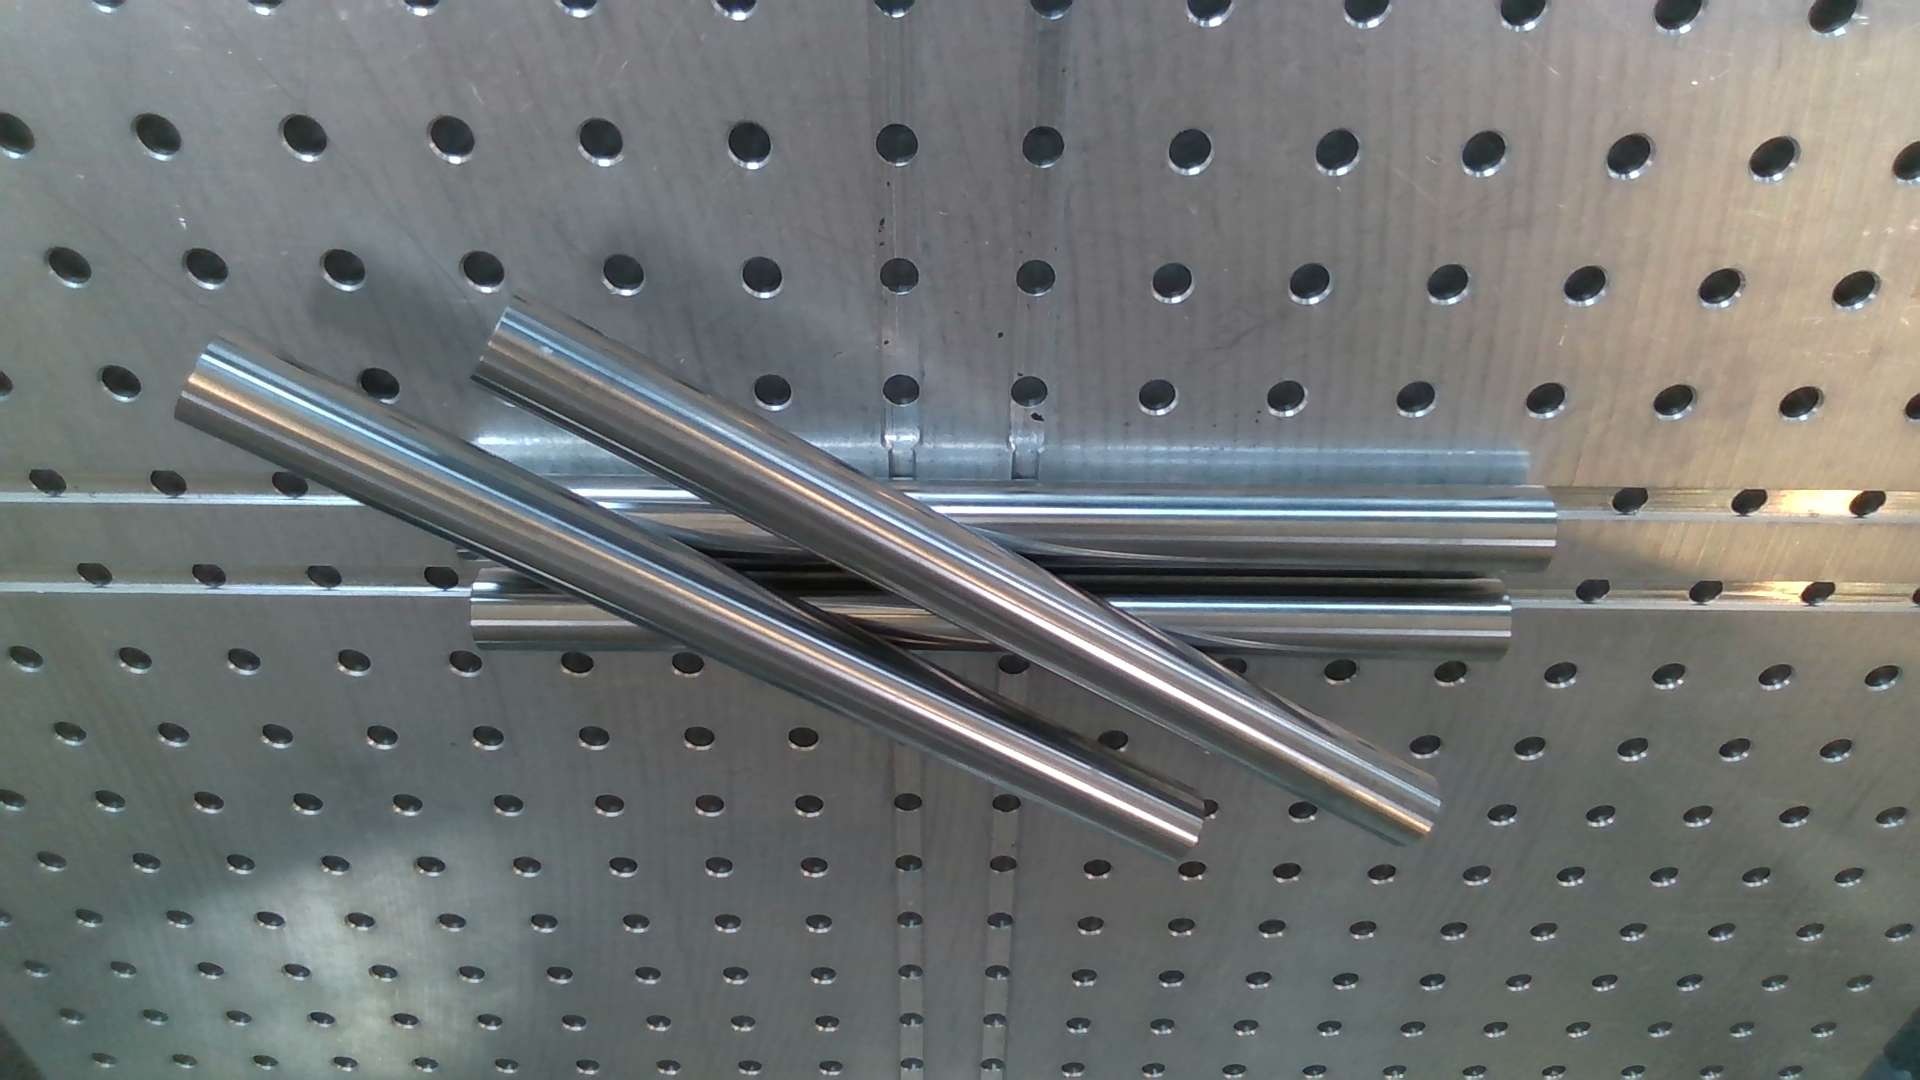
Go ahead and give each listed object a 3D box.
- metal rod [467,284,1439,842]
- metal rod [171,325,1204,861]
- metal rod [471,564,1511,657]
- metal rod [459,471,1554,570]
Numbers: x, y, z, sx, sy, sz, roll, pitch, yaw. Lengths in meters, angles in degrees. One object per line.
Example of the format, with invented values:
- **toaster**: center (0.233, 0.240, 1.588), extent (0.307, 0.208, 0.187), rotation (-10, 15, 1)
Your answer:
- **metal rod**: center (0.015, 0.017, 0.373), extent (0.300, 0.025, 0.025), rotation (28, 125, -21)
- **metal rod**: center (-0.056, 0.025, 0.379), extent (0.300, 0.025, 0.025), rotation (27, 125, -21)
- **metal rod**: center (0.009, 0.021, 0.409), extent (0.300, 0.025, 0.025), rotation (1, 130, 0)
- **metal rod**: center (0.012, -0.006, 0.387), extent (0.300, 0.025, 0.025), rotation (1, 130, -1)
